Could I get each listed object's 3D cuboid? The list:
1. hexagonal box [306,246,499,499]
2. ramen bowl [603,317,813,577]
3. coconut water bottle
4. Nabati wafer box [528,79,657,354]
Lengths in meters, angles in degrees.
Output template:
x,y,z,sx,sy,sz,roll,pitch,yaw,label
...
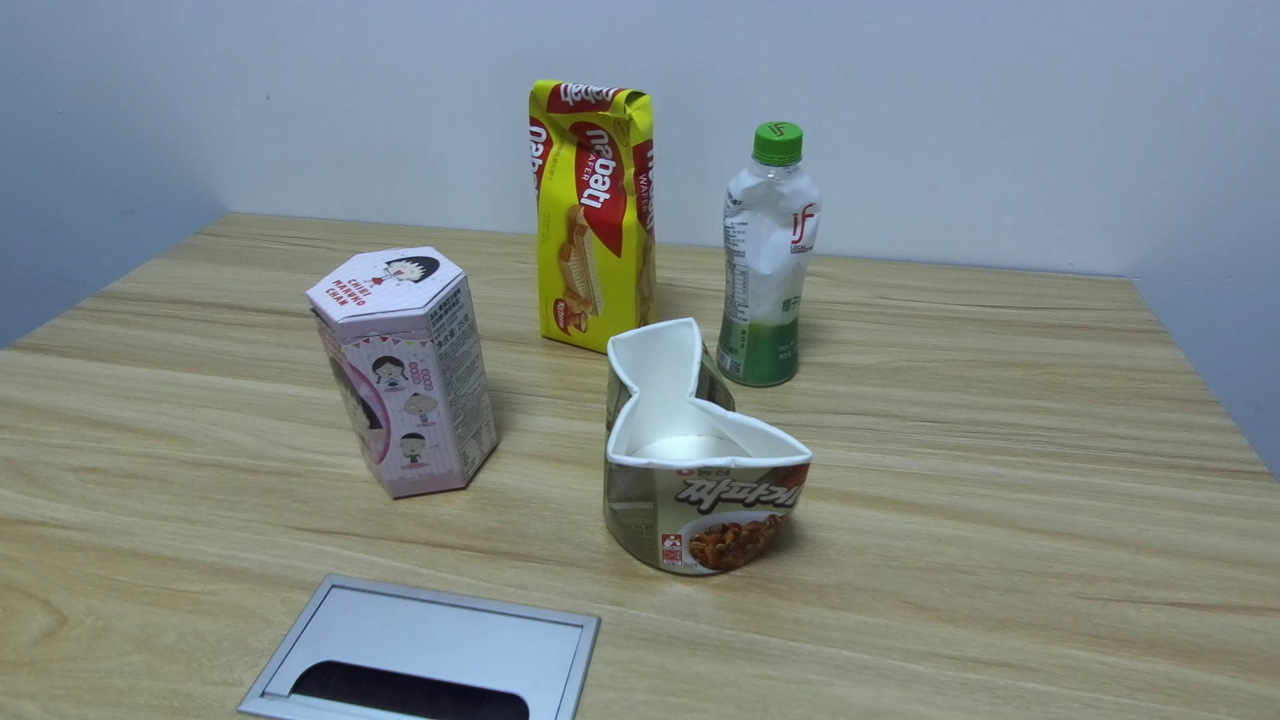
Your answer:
x,y,z,sx,sy,sz,roll,pitch,yaw,label
-0.144,0.010,0.444,0.084,0.136,0.091,-27,43,-32,hexagonal box
0.032,0.048,0.417,0.111,0.093,0.128,-3,37,-1,ramen bowl
0.091,-0.072,0.502,0.069,0.187,0.069,0,35,0,coconut water bottle
-0.036,-0.101,0.535,0.113,0.205,0.043,15,36,23,Nabati wafer box
